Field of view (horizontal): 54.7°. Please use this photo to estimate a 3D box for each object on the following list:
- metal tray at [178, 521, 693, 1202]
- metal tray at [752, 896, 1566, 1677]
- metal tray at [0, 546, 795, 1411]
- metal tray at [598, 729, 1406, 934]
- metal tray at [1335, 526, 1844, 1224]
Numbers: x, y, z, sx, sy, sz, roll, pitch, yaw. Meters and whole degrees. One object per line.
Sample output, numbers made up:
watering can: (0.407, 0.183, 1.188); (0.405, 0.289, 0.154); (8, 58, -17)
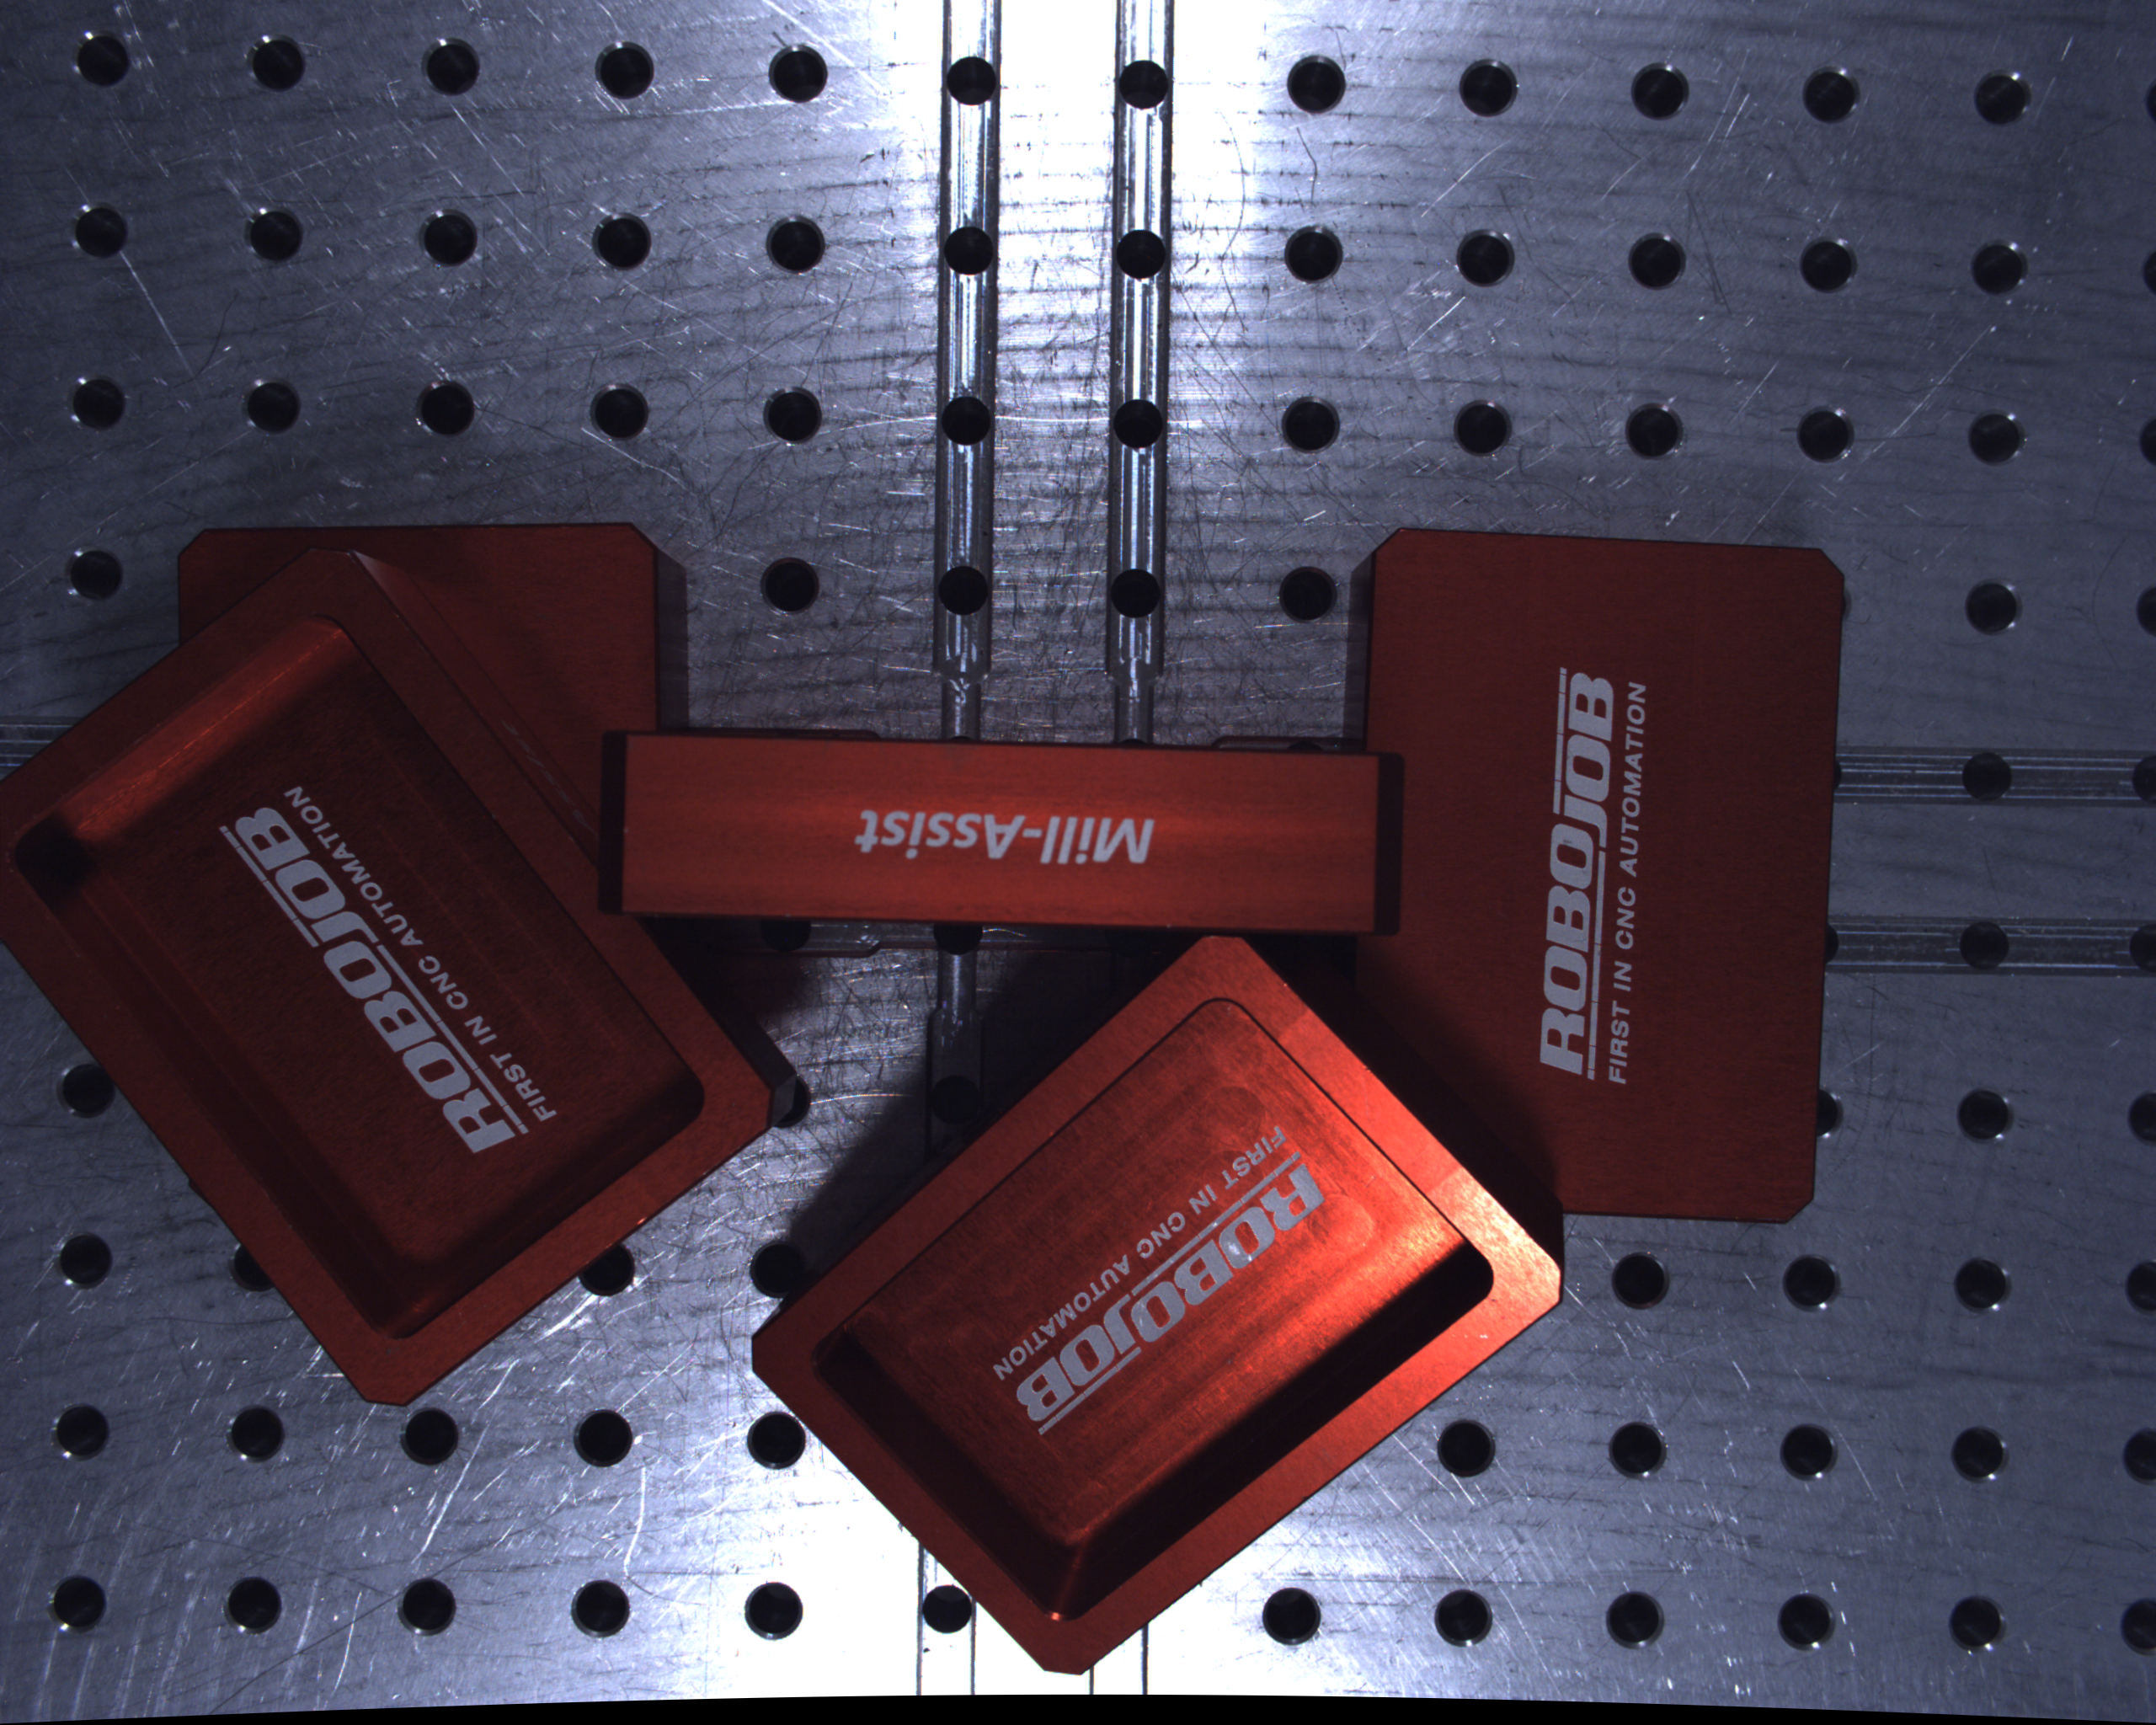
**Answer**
metal tray: (-0.124, 0.000, 0.409); (0.091, 0.030, 0.129); (-1, 91, 0)
metal tray: (0.014, 0.081, 0.392); (0.130, 0.030, 0.090); (-43, 91, 17)
metal tray: (-0.126, 0.020, 0.377); (0.090, 0.030, 0.130); (-38, 91, -1)
metal tray: (-0.012, -0.005, 0.380); (0.131, 0.090, 0.030); (2, 90, -1)
metal tray: (0.098, 0.002, 0.411); (0.091, 0.030, 0.129); (3, 90, -1)
